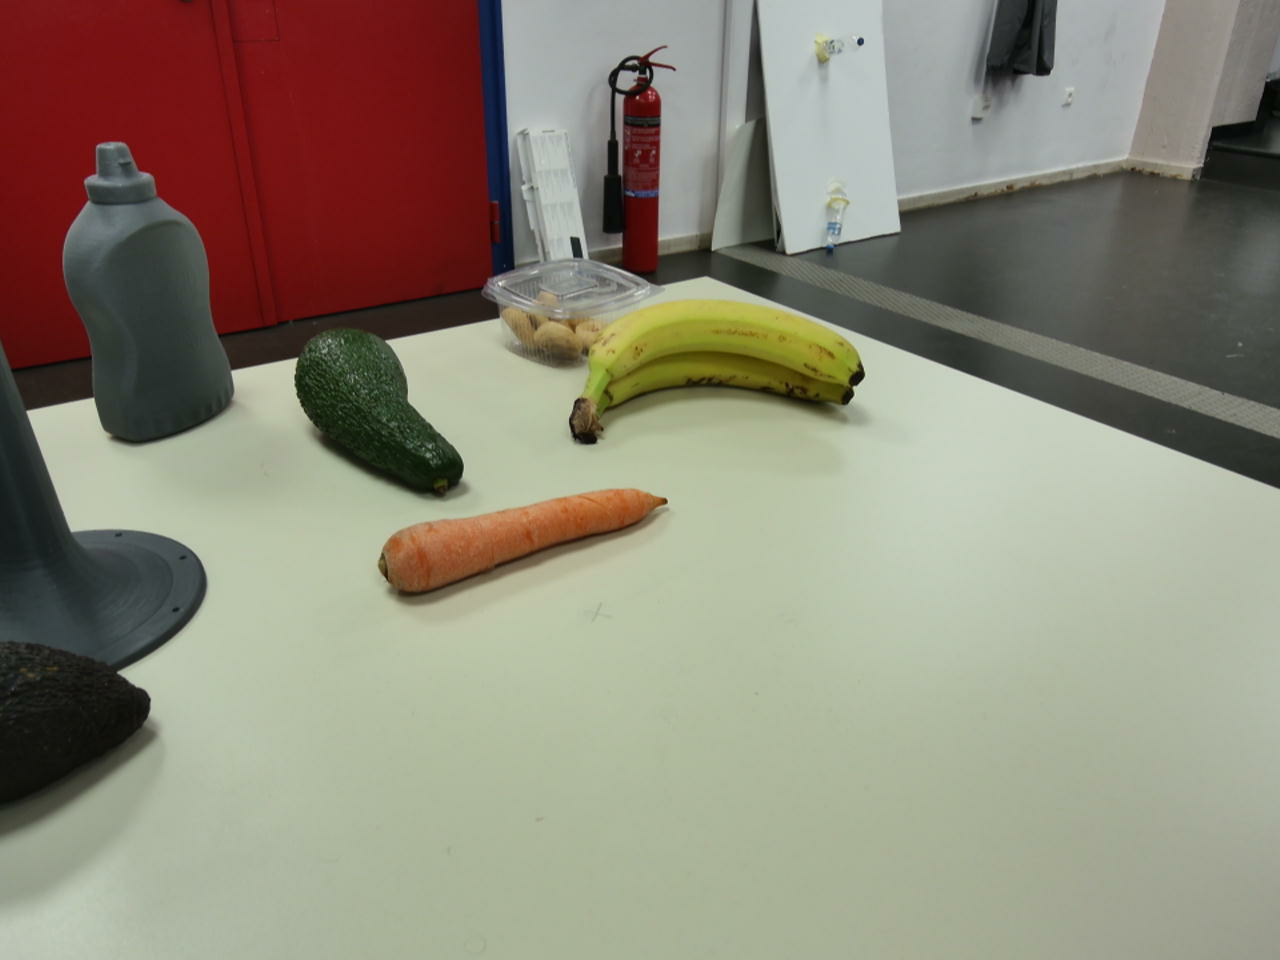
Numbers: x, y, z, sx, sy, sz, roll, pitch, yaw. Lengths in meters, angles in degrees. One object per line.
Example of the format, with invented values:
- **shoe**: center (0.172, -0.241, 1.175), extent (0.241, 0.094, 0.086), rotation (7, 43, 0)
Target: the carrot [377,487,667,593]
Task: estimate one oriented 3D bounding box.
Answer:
- **carrot**: center (-0.064, 0.026, 0.606), extent (0.196, 0.041, 0.039), rotation (-17, 31, -32)
